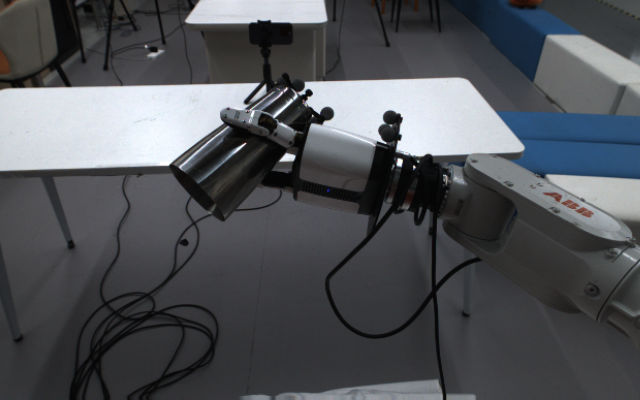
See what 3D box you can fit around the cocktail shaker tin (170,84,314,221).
[{"bbox_3d":[-0.089,-0.069,0.597,0.093,0.093,0.170,32,66,35],"label":"cocktail shaker tin"}]
